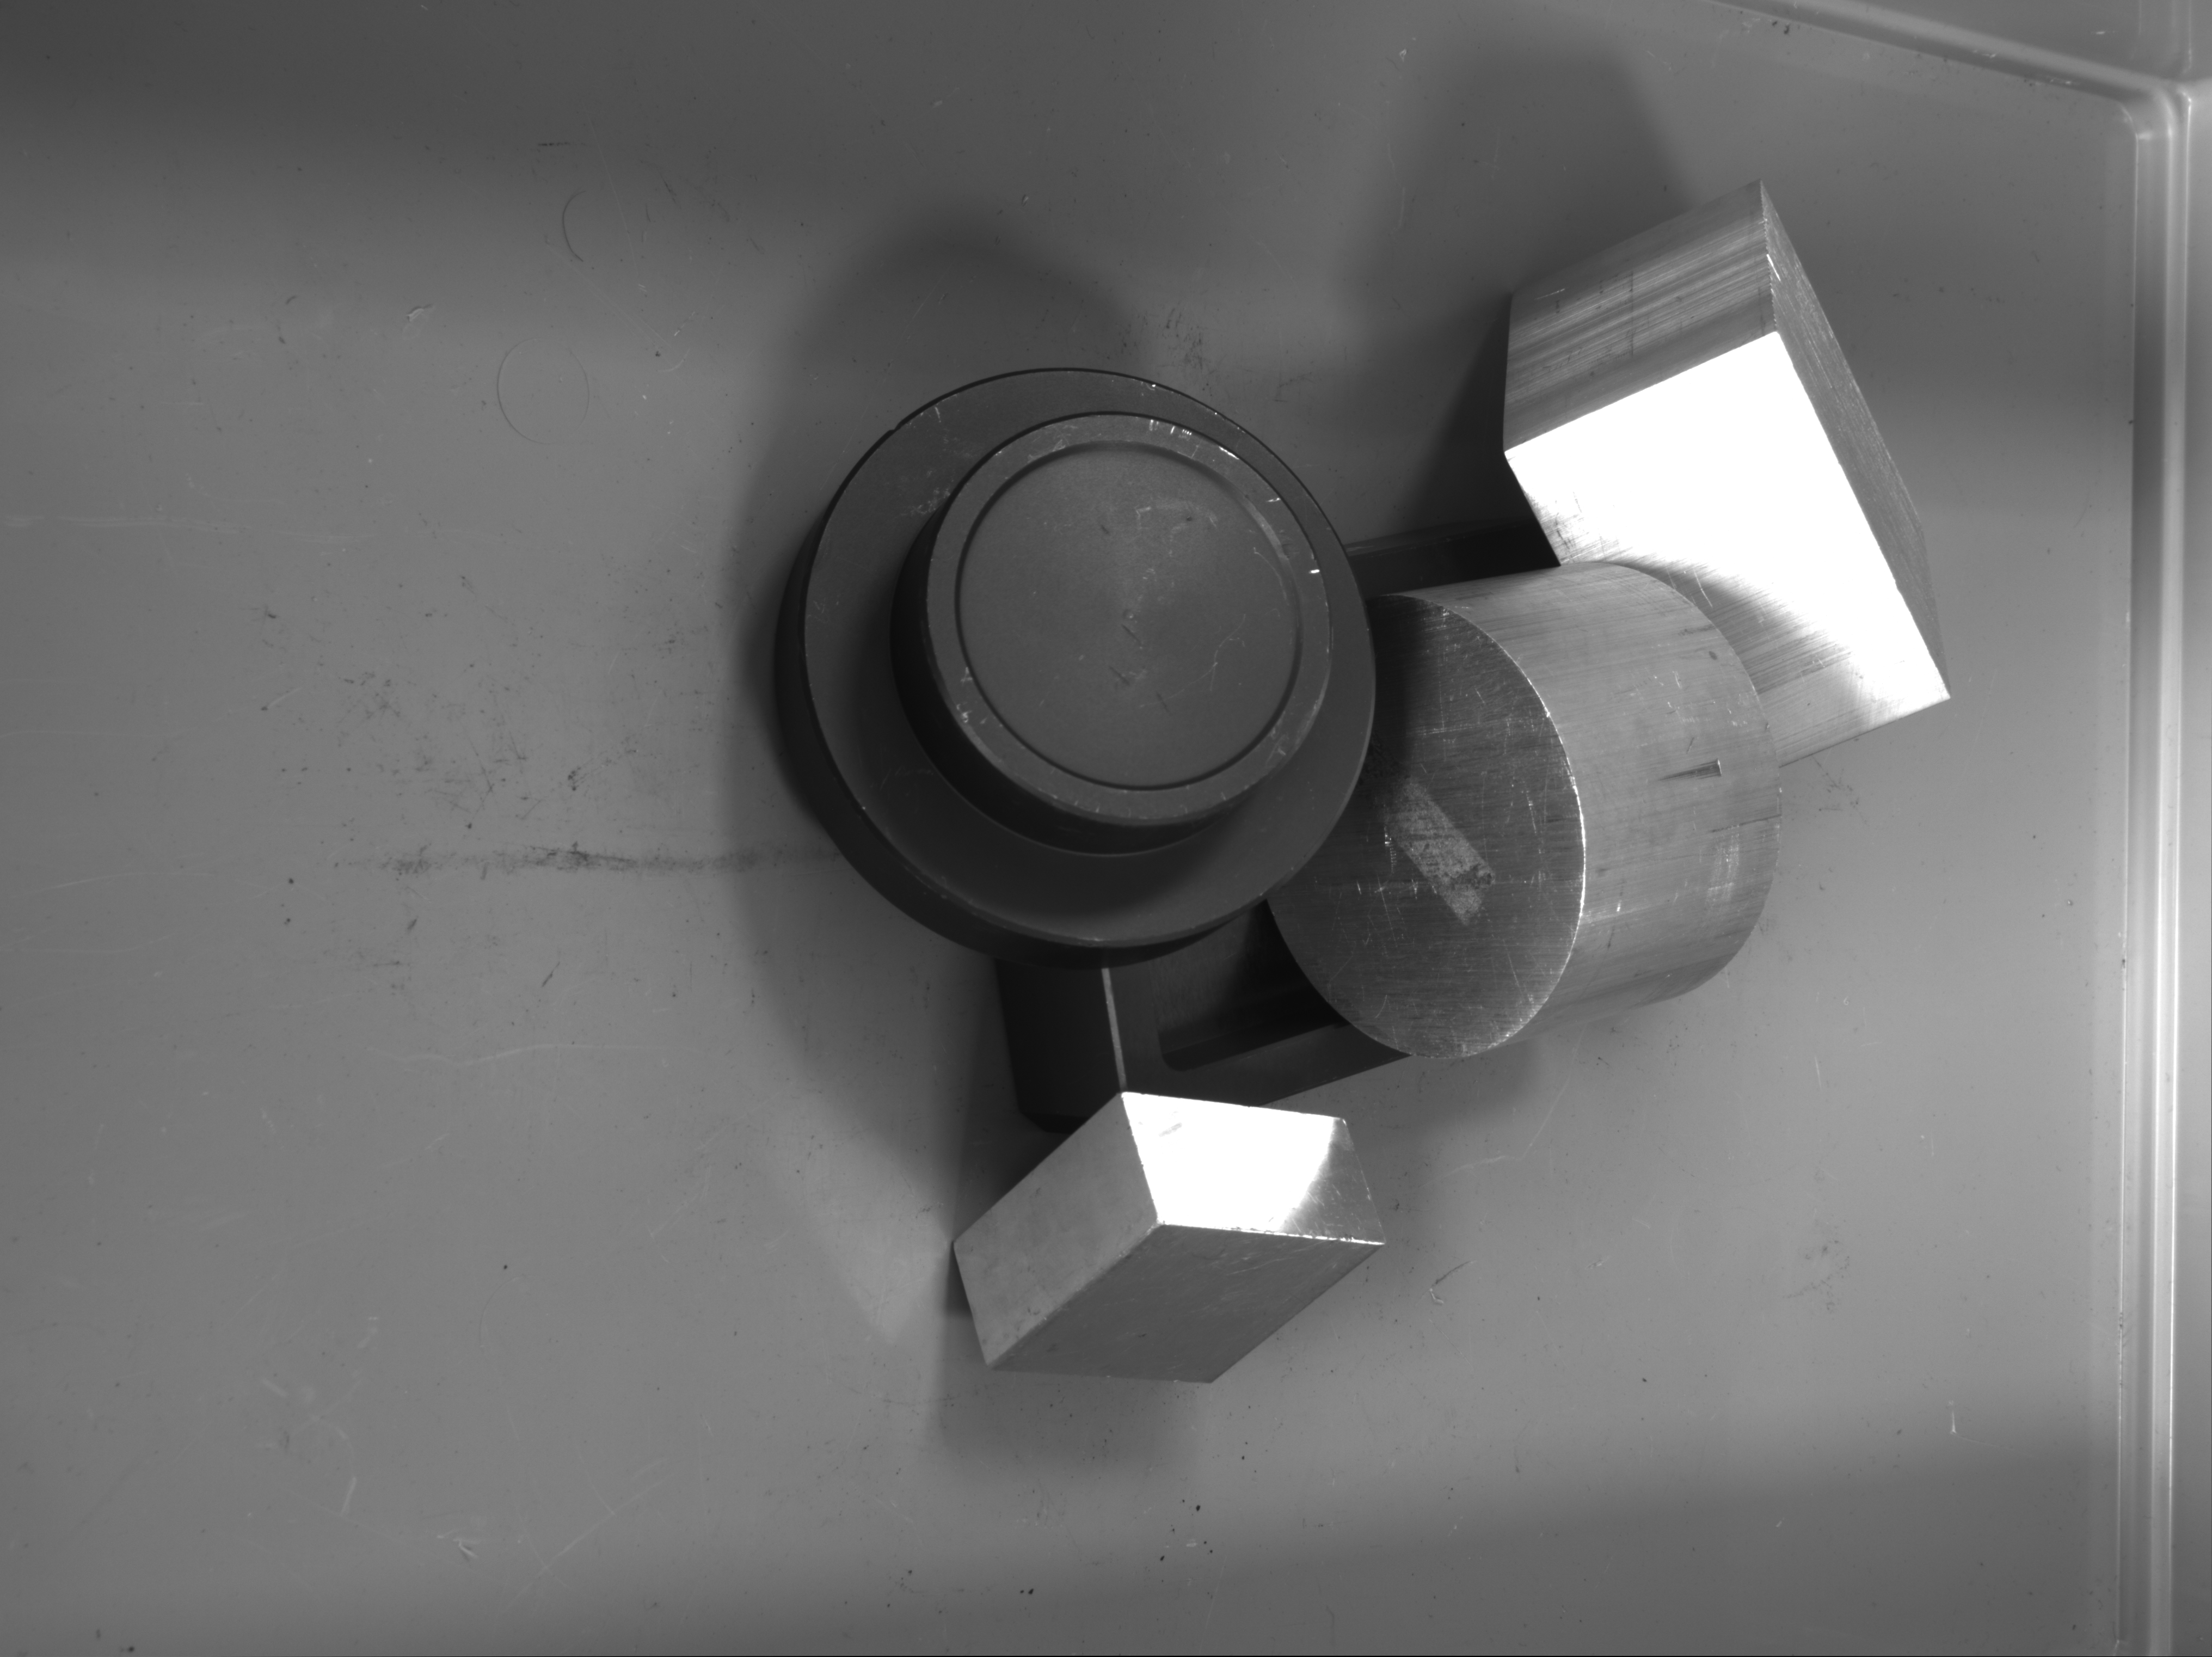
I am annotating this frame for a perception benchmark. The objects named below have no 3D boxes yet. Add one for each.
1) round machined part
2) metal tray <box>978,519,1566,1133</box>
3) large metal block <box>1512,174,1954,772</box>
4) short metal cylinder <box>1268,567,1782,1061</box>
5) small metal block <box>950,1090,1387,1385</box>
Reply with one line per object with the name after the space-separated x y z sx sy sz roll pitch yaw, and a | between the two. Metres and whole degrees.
-0.002 -0.029 0.598 0.098 0.042 0.098 4 75 -15 | round machined part
0.036 -0.003 0.663 0.130 0.030 0.090 -14 99 -39 | metal tray
0.117 -0.064 0.690 0.080 0.050 0.080 59 20 -23 | large metal block
0.071 -0.004 0.642 0.050 0.080 0.080 -12 97 -40 | short metal cylinder
0.010 0.070 0.624 0.050 0.050 0.025 10 49 -38 | small metal block
